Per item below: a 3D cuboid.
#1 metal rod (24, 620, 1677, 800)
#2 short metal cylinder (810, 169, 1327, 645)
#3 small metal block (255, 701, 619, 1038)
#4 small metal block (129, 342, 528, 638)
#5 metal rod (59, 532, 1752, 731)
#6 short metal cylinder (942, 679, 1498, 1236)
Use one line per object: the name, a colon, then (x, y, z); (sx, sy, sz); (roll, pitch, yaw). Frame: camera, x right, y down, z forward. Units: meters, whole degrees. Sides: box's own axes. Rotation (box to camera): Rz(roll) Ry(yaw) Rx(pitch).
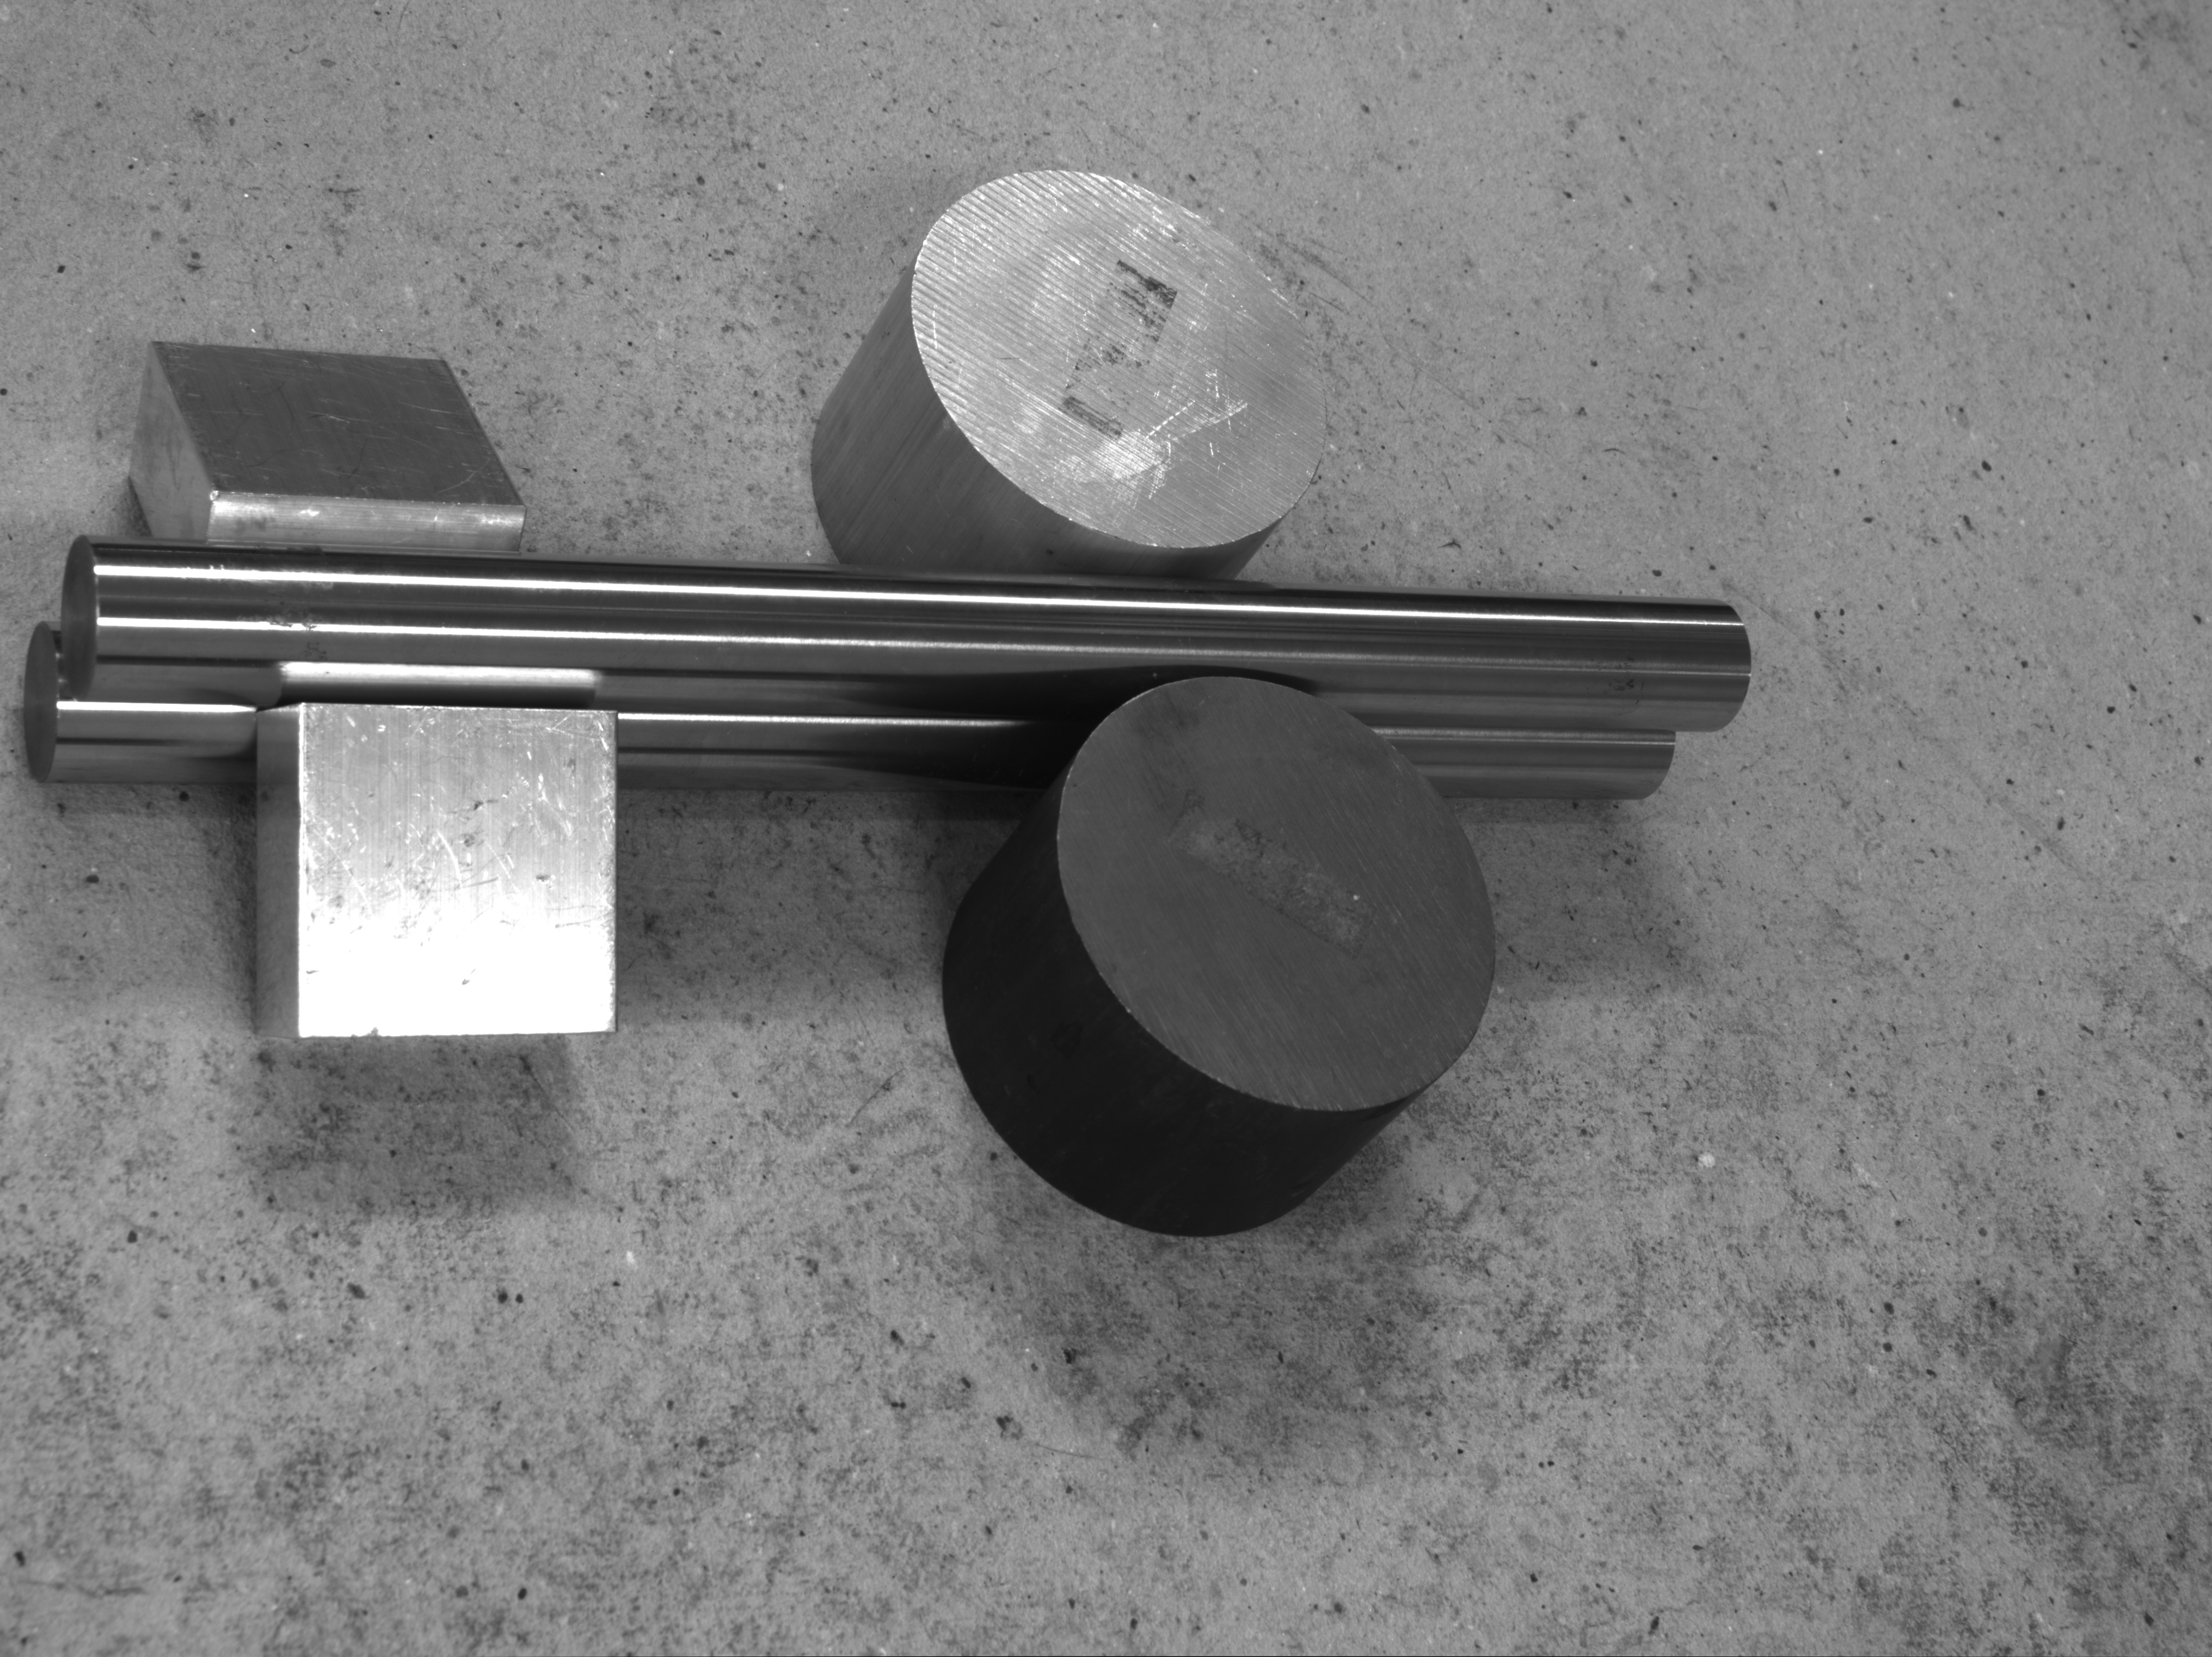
metal rod: (-0.031, -0.019, 0.635); (0.301, 0.025, 0.025); (0, 61, -28)
short metal cylinder: (-0.007, -0.071, 0.663); (0.080, 0.050, 0.080); (13, 56, -21)
small metal block: (-0.103, 0.007, 0.568); (0.050, 0.025, 0.050); (1, 88, -28)
small metal block: (-0.126, -0.054, 0.593); (0.050, 0.025, 0.050); (0, 34, -28)
metal rod: (-0.020, -0.031, 0.616); (0.301, 0.025, 0.025); (0, 62, -28)
short metal cylinder: (0.019, 0.022, 0.620); (0.080, 0.050, 0.080); (13, 56, -21)
